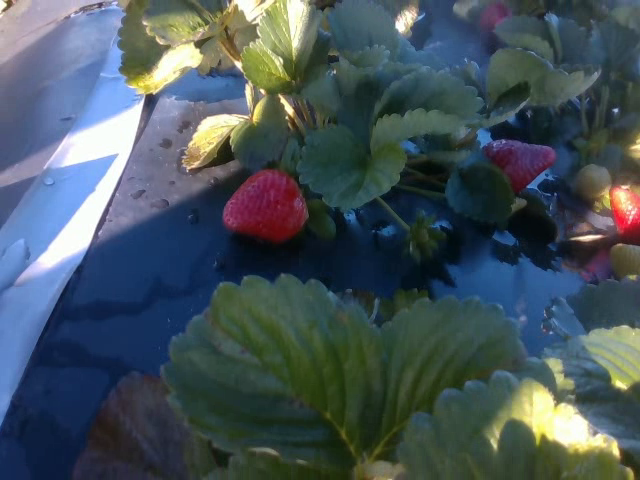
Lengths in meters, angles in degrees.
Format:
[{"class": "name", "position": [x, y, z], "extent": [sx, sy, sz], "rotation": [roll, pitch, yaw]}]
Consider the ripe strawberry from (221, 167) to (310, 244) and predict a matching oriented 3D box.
[{"class": "ripe strawberry", "position": [-0.032, -0.018, 0.330], "extent": [0.059, 0.042, 0.046], "rotation": [-33, 23, -37]}]
